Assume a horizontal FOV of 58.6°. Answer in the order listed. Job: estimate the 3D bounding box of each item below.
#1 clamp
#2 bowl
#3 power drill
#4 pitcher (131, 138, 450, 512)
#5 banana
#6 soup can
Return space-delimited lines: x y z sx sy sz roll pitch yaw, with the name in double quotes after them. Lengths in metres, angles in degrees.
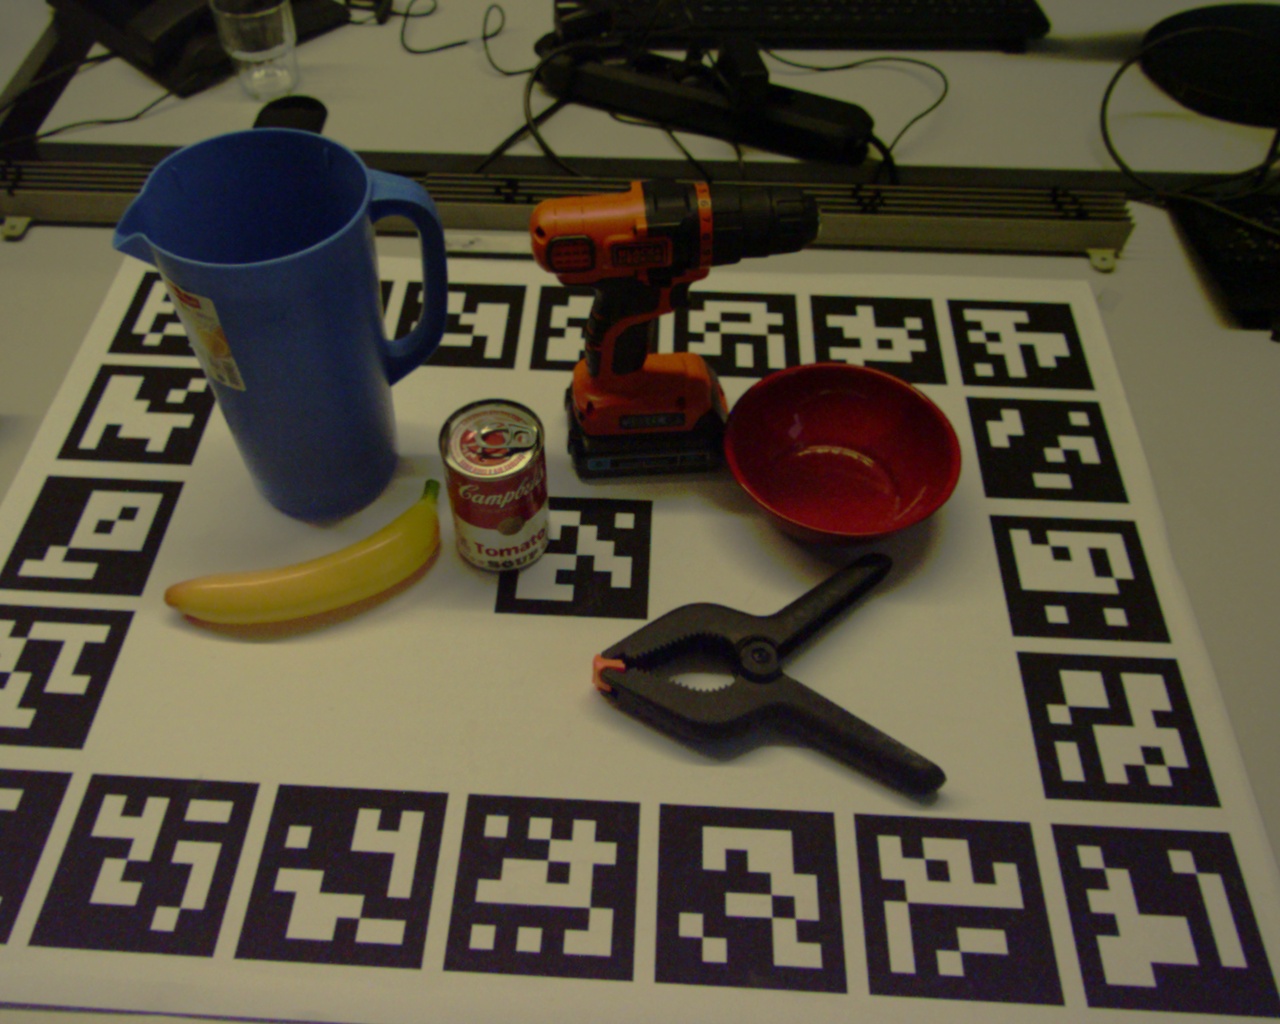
0.067 0.089 0.729 0.203 0.036 0.166 -1 56 0 "clamp"
0.130 -0.036 0.823 0.162 0.055 0.162 -1 53 0 "bowl"
0.023 -0.136 0.795 0.184 0.186 0.057 -2 52 -3 "power drill"
-0.216 -0.119 0.773 0.188 0.241 0.134 -18 51 -14 "pitcher"
-0.223 0.033 0.785 0.196 0.038 0.075 -19 46 -16 "banana"
-0.098 -0.024 0.787 0.068 0.101 0.068 0 44 -1 "soup can"
